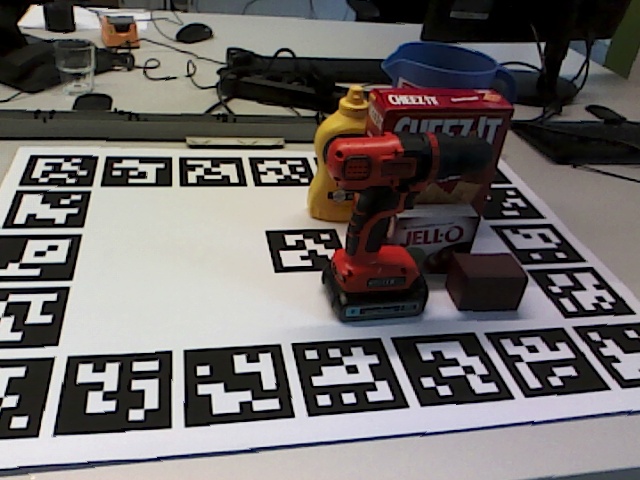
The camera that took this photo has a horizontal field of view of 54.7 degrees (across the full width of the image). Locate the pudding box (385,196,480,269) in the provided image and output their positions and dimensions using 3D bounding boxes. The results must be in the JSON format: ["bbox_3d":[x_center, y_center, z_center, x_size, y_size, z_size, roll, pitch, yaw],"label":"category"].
[{"bbox_3d":[0.139,-0.009,0.790,0.113,0.090,0.039,-3,34,-9],"label":"pudding box"}]

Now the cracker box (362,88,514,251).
[{"bbox_3d":[0.143,-0.081,0.801,0.164,0.213,0.072,-4,34,-12],"label":"cracker box"}]

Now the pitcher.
[{"bbox_3d":[0.171,-0.145,0.889,0.188,0.242,0.134,1,35,-5],"label":"pitcher"}]

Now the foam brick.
[{"bbox_3d":[0.204,0.053,0.767,0.078,0.051,0.053,0,36,-10],"label":"foam brick"}]

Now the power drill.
[{"bbox_3d":[0.097,-0.029,0.689,0.184,0.186,0.057,-1,32,-13],"label":"power drill"}]

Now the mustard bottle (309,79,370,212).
[{"bbox_3d":[0.040,-0.132,0.869,0.096,0.191,0.058,6,35,-1],"label":"mustard bottle"}]
